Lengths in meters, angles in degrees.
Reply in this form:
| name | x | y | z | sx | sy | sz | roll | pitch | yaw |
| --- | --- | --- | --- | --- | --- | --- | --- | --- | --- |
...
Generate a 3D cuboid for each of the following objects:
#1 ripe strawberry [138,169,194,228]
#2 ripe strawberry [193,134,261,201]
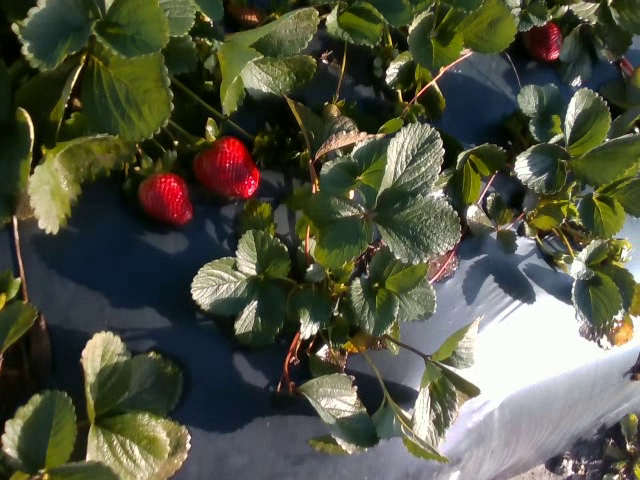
| name | x | y | z | sx | sy | sz | roll | pitch | yaw |
| --- | --- | --- | --- | --- | --- | --- | --- | --- | --- |
| ripe strawberry | -0.112 | -0.028 | 0.464 | 0.051 | 0.043 | 0.036 | 41 | 5 | 7 |
| ripe strawberry | -0.068 | -0.053 | 0.488 | 0.052 | 0.058 | 0.046 | -43 | -9 | -1 |
